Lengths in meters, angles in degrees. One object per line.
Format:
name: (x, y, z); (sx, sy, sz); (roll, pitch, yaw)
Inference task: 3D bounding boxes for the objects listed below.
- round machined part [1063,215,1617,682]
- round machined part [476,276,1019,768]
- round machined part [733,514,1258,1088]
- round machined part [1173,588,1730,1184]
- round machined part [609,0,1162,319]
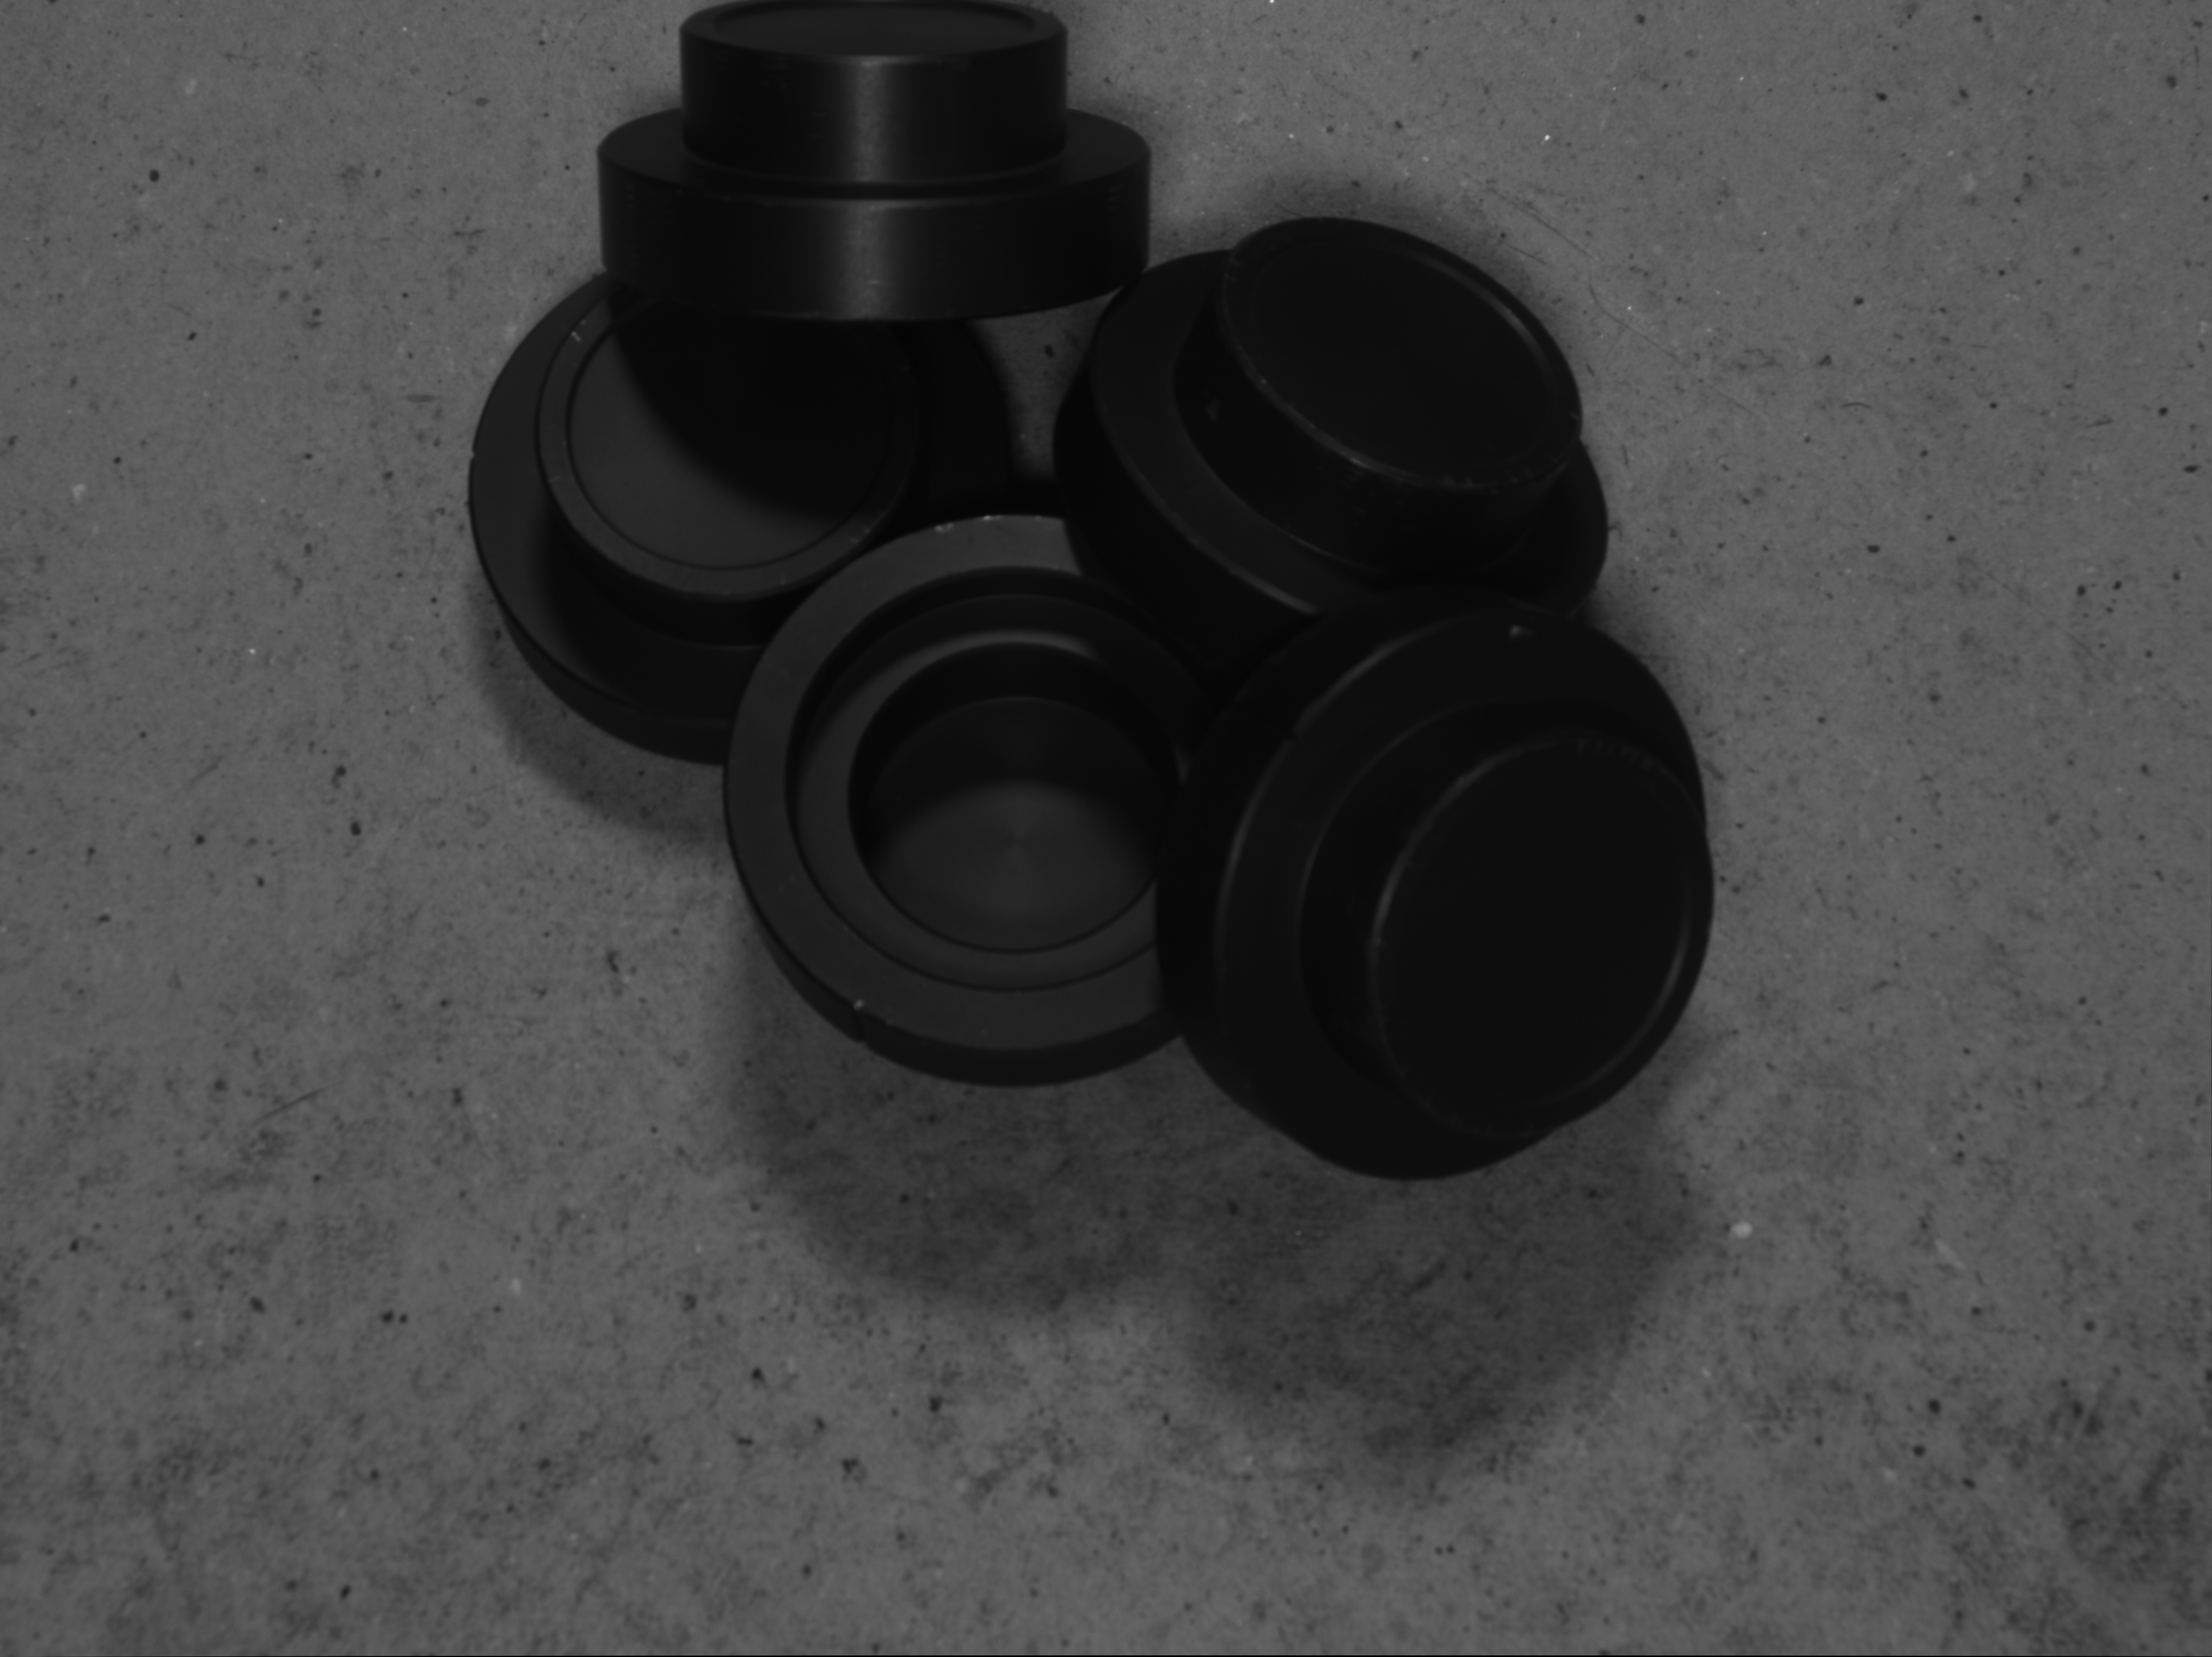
round machined part: (0.045, -0.069, 0.638); (0.098, 0.042, 0.098); (15, 44, -15)
round machined part: (-0.065, -0.064, 0.661); (0.098, 0.042, 0.098); (0, 70, 0)
round machined part: (-0.014, -0.002, 0.636); (0.098, 0.042, 0.098); (0, 70, 0)
round machined part: (0.063, 0.013, 0.602); (0.098, 0.098, 0.042); (-41, 34, -14)
round machined part: (-0.039, -0.122, 0.650); (0.098, 0.098, 0.042); (1, 111, 0)
